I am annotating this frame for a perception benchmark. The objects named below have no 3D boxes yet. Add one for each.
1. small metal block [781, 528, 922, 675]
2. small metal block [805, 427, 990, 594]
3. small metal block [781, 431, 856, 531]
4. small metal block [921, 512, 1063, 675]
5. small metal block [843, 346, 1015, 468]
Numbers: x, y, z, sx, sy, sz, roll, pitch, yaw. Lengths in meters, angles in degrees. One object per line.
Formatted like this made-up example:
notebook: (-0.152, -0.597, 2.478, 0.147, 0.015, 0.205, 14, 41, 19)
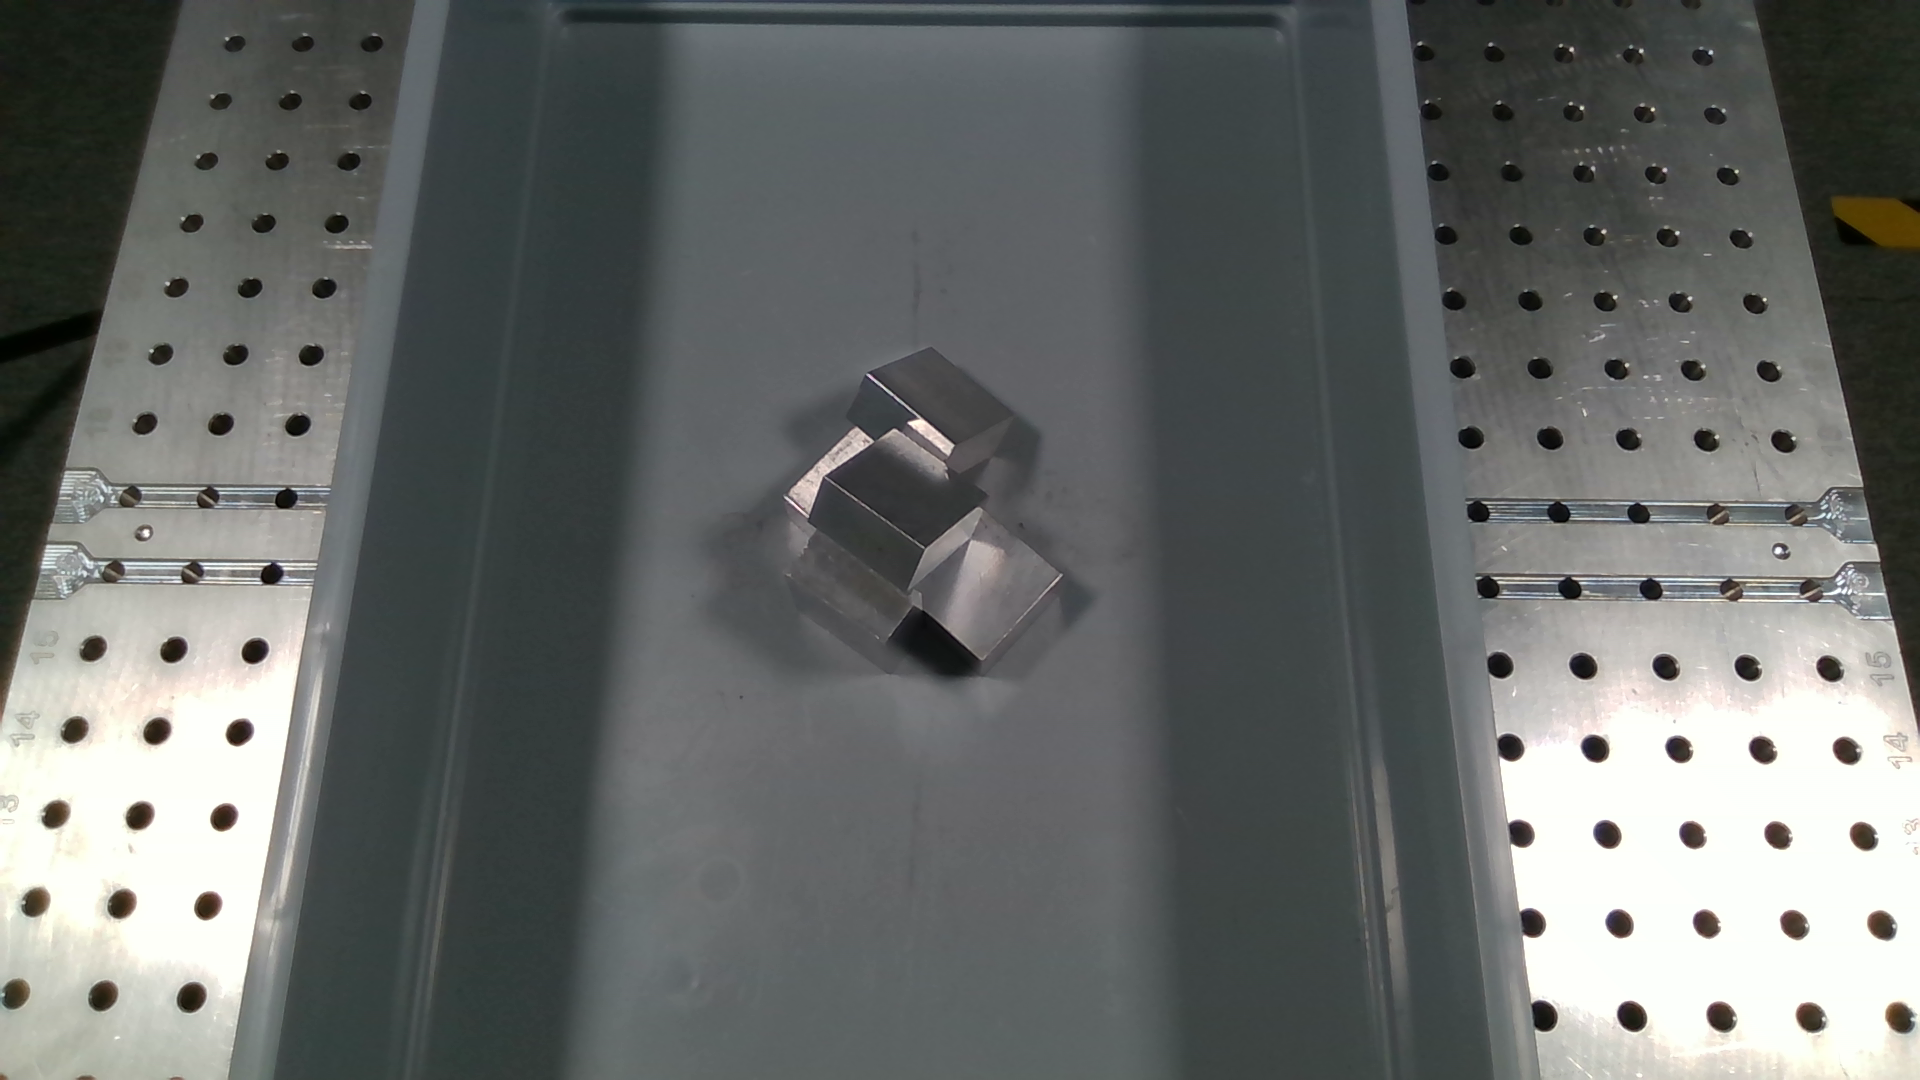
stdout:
small metal block: (-0.043, 0.025, 0.564, 0.050, 0.050, 0.025, 33, 73, 11)
small metal block: (-0.025, -0.013, 0.552, 0.050, 0.025, 0.050, 36, 40, 12)
small metal block: (-0.040, -0.016, 0.592, 0.050, 0.025, 0.050, 40, 75, 13)
small metal block: (0.007, 0.020, 0.580, 0.050, 0.025, 0.050, 40, 75, 13)
small metal block: (-0.013, -0.054, 0.593, 0.050, 0.025, 0.050, 40, 36, 13)
